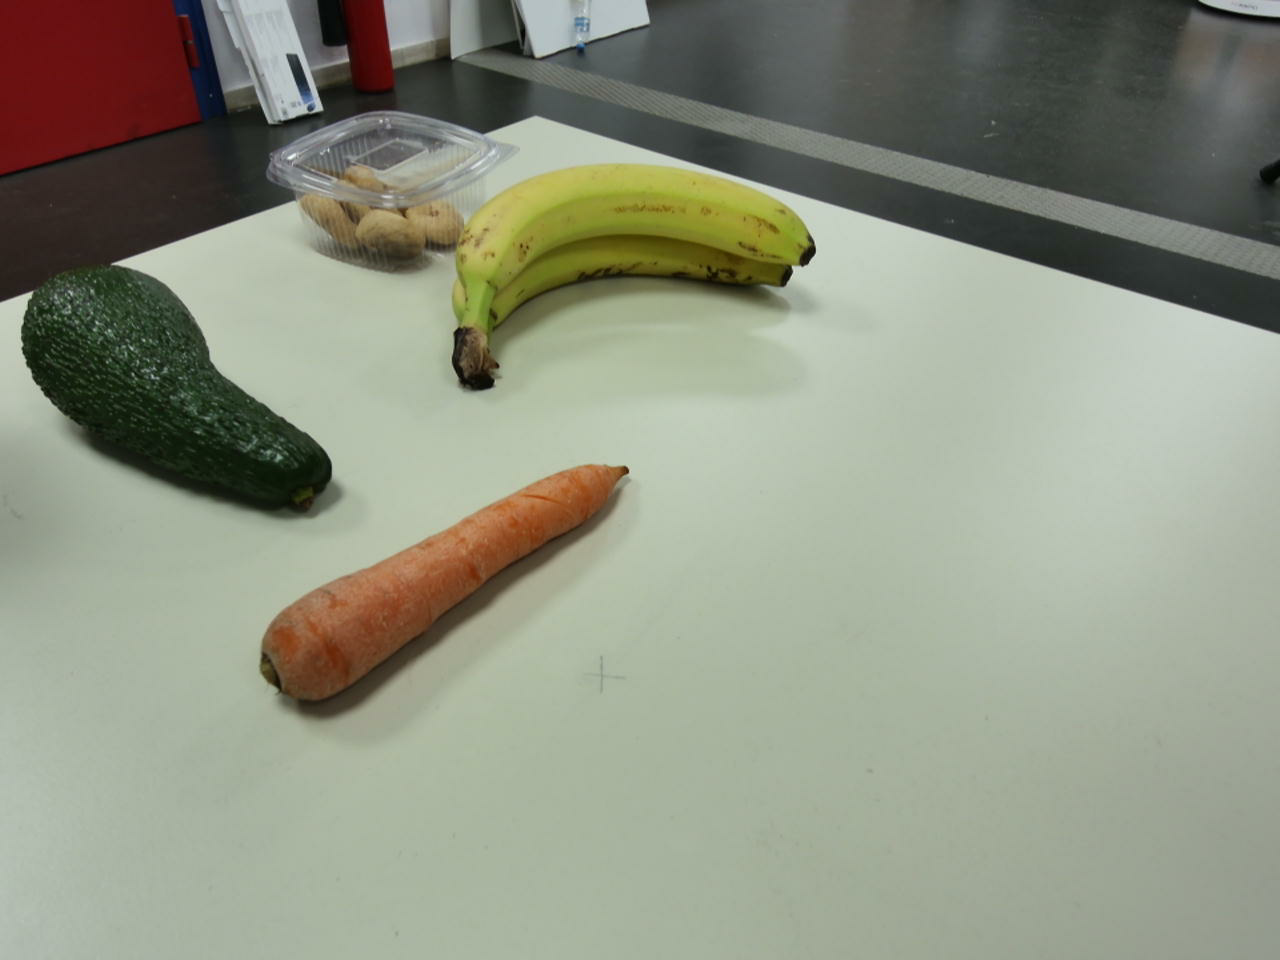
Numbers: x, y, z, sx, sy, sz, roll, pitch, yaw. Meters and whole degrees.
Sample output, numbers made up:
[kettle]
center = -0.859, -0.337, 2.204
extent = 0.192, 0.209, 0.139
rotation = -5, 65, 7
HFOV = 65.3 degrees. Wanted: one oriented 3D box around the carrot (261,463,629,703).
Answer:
[carrot]
center = -0.072, 0.028, 0.420
extent = 0.039, 0.041, 0.196
rotation = 26, 43, 30
